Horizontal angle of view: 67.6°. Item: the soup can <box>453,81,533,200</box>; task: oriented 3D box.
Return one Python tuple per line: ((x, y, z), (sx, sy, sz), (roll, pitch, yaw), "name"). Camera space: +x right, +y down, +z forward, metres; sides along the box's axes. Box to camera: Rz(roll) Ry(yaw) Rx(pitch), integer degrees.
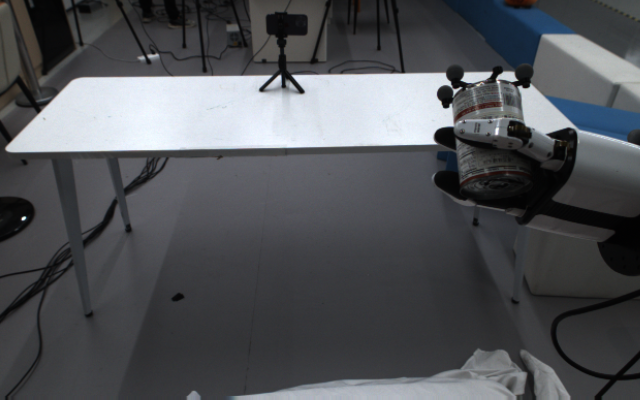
((0.172, -0.058, 0.482), (0.067, 0.067, 0.101), (1, 72, -2), "soup can")
